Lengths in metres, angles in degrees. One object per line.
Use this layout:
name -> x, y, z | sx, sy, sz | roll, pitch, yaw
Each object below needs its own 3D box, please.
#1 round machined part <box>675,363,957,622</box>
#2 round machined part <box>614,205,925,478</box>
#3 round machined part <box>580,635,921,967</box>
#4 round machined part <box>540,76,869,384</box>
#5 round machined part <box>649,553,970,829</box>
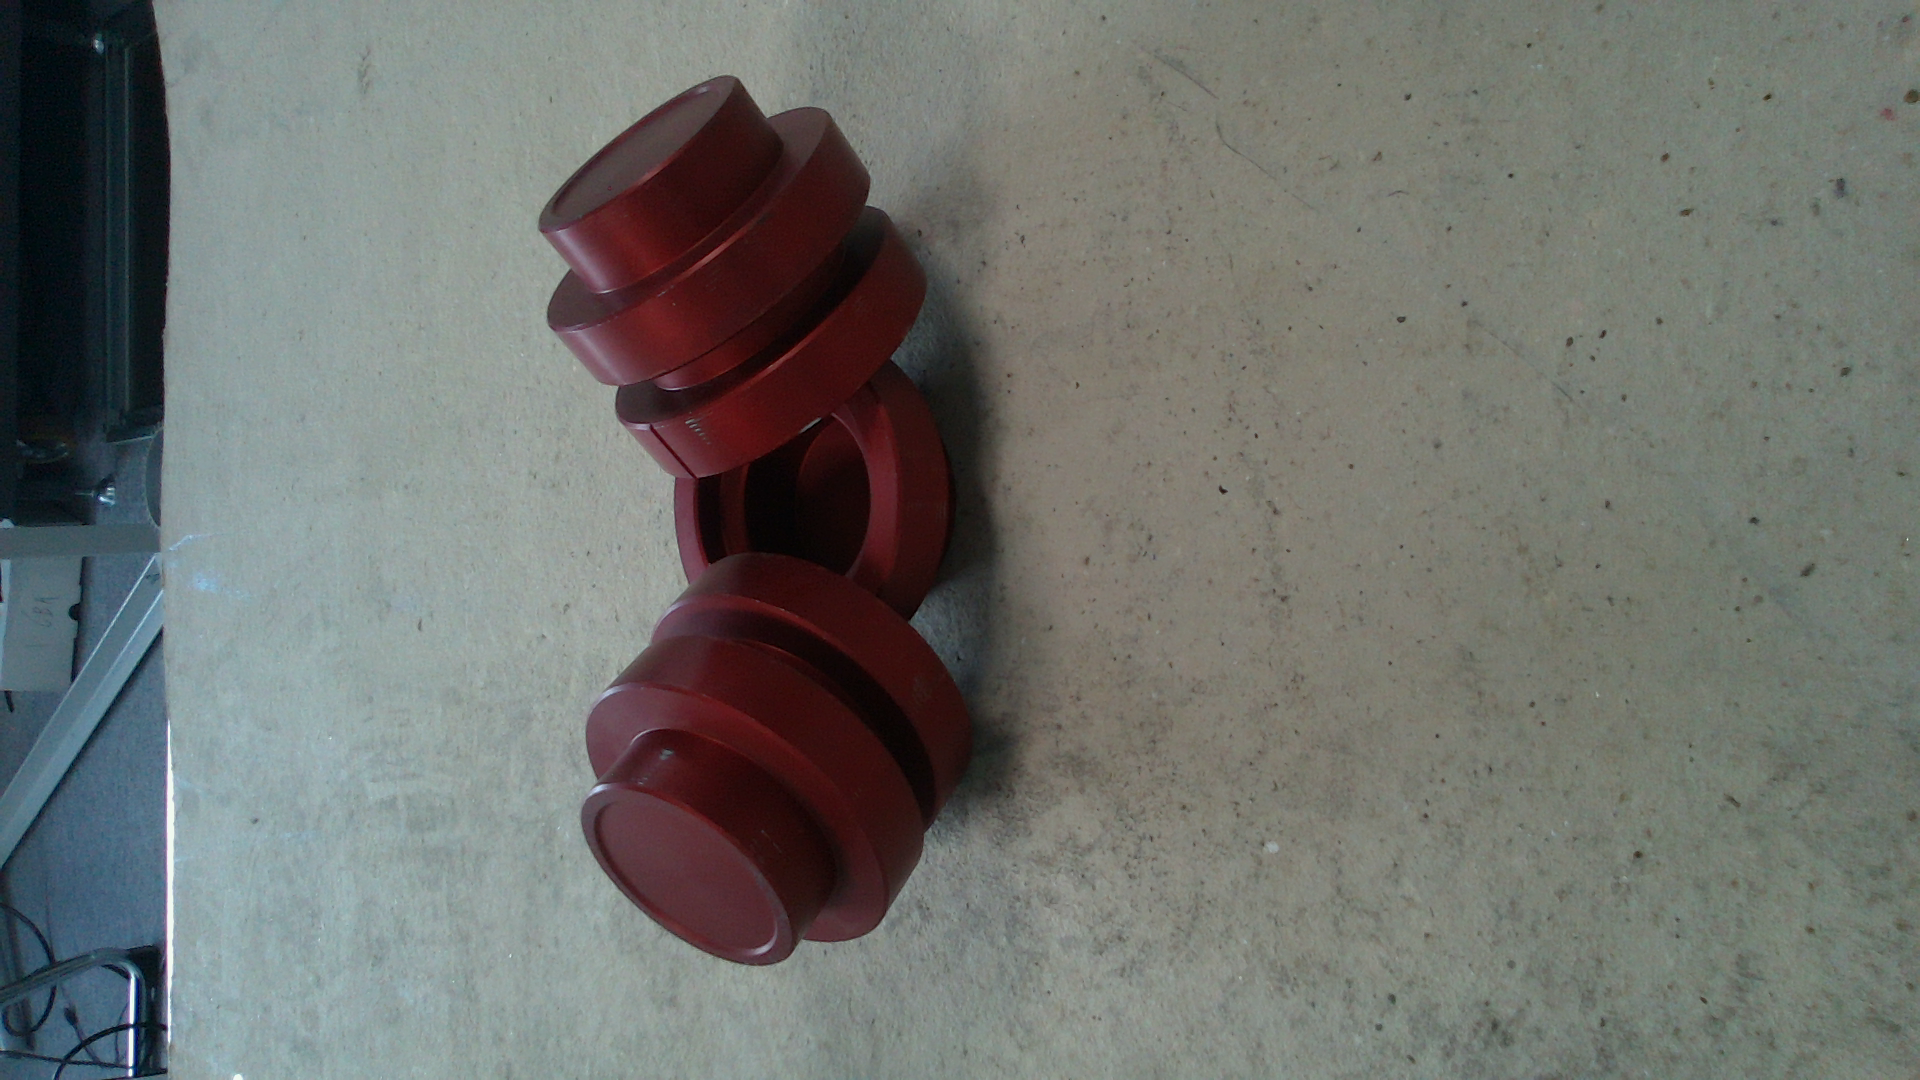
round machined part -> -0.040, -0.012, 0.419 | 0.098, 0.042, 0.098 | 0, 90, 40
round machined part -> -0.062, -0.067, 0.400 | 0.098, 0.042, 0.098 | -26, 33, 19
round machined part -> -0.063, 0.077, 0.374 | 0.098, 0.042, 0.098 | 19, 135, 21
round machined part -> -0.077, -0.092, 0.386 | 0.098, 0.042, 0.098 | -26, 33, 19
round machined part -> -0.050, 0.055, 0.393 | 0.098, 0.042, 0.098 | 19, 136, 20
